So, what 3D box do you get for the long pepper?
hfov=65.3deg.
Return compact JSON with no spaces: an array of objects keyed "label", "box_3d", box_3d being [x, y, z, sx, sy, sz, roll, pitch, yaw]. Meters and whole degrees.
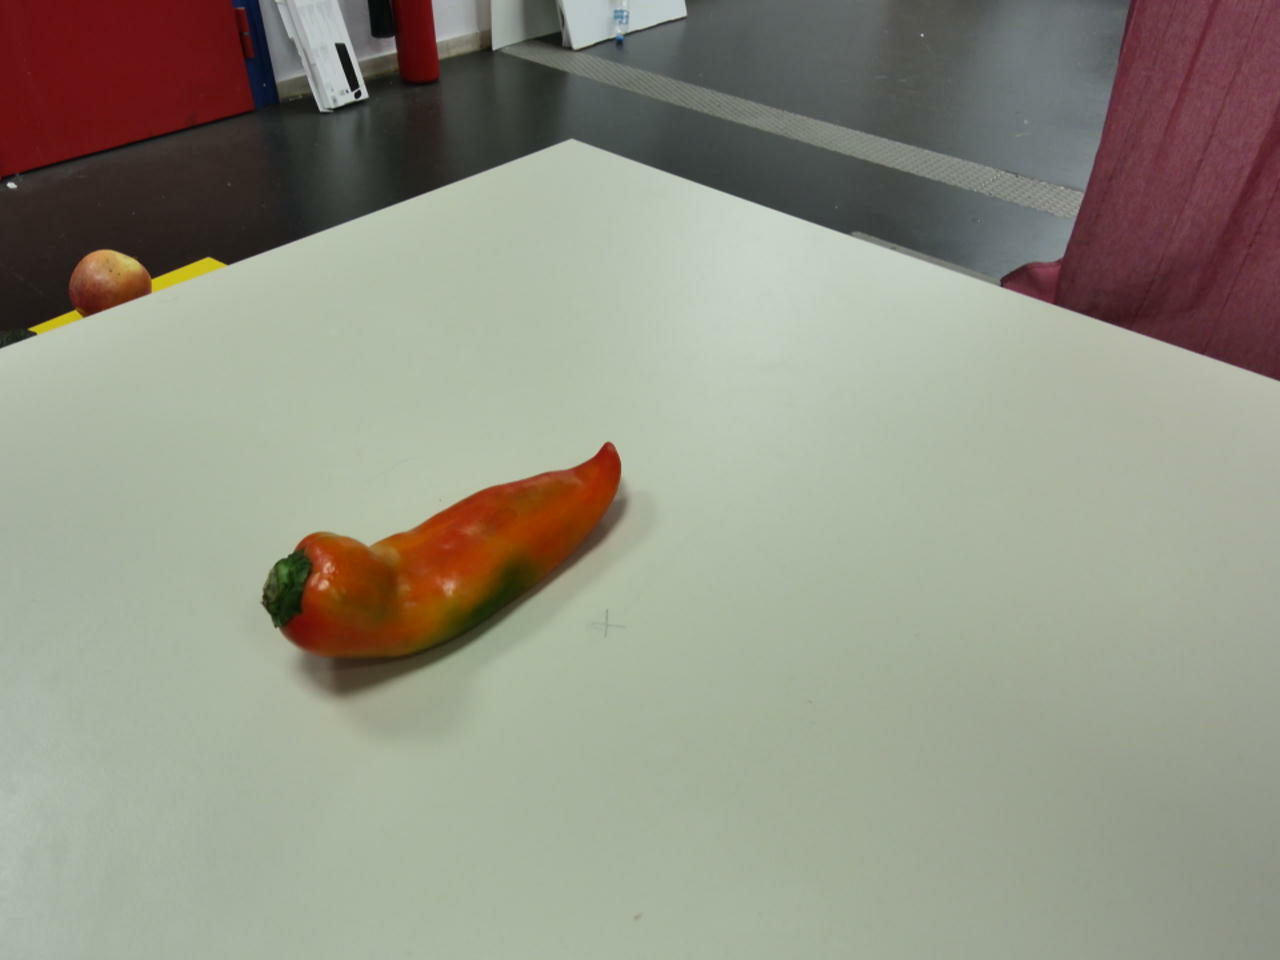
[{"label":"long pepper","box_3d":[-0.079,0.023,0.469,0.199,0.065,0.066,-30,47,-35]}]
